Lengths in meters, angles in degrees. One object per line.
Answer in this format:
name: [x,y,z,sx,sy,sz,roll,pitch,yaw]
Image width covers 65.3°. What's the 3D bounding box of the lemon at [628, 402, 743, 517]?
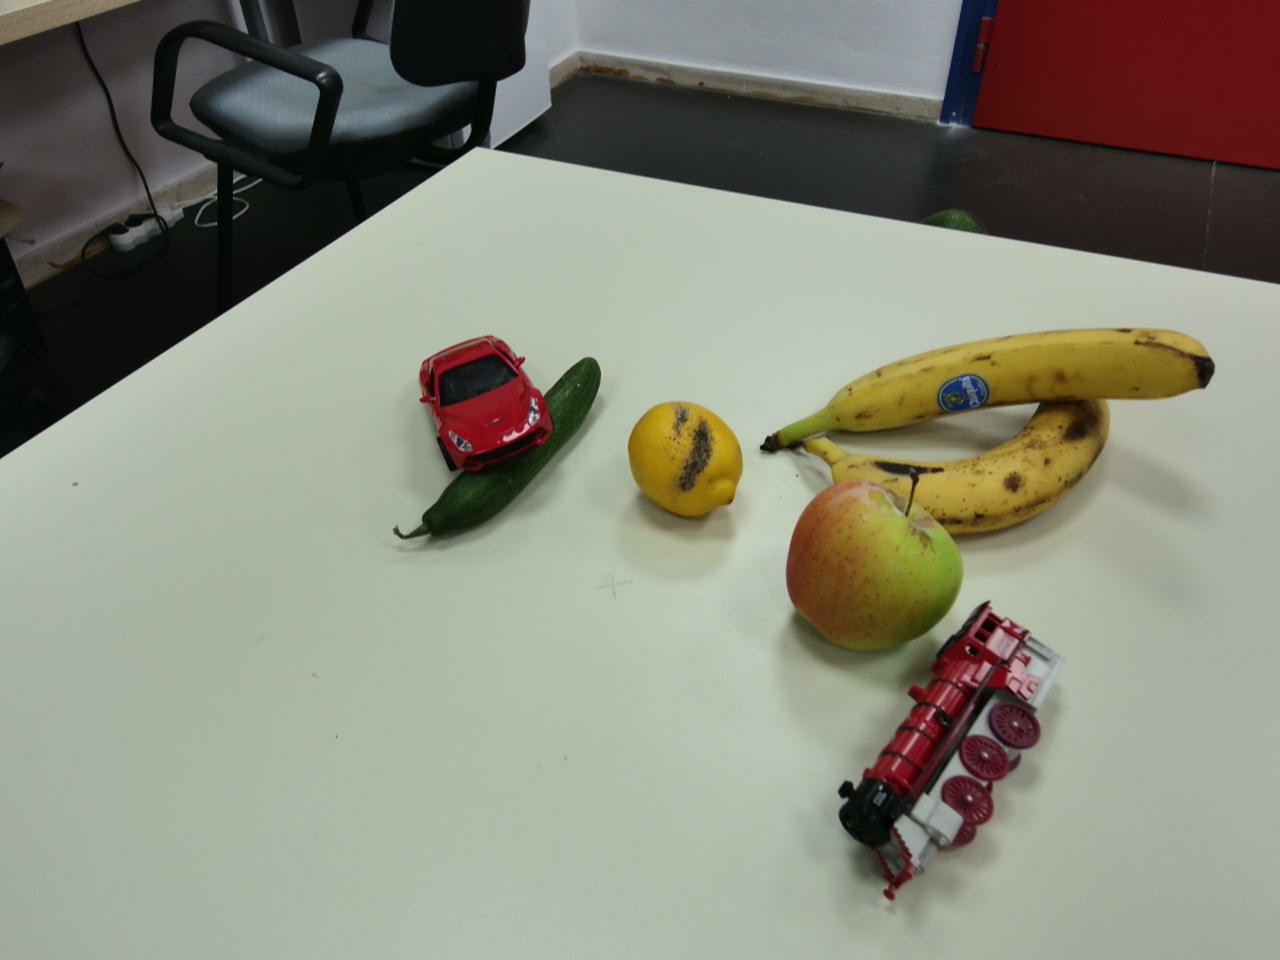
lemon: [0.024,-0.011,0.520,0.061,0.056,0.058,12,39,14]
